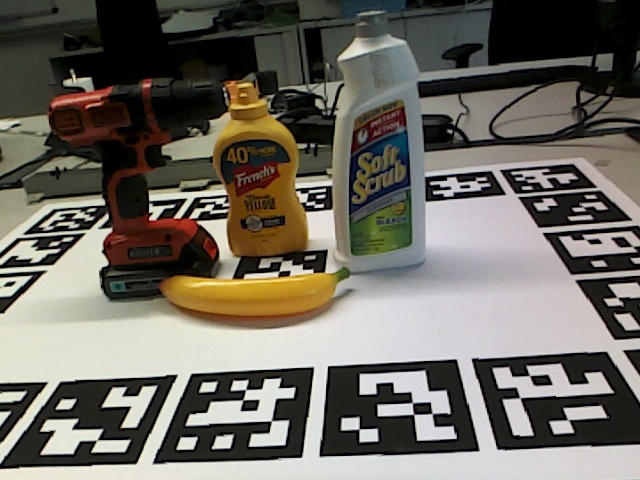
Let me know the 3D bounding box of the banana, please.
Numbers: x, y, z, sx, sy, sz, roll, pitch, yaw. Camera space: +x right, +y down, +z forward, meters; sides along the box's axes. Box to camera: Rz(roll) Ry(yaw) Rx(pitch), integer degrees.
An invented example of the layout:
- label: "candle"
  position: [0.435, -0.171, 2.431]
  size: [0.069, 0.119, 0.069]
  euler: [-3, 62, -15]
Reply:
- label: "banana"
  position: [-0.065, 0.050, 0.600]
  size: [0.198, 0.039, 0.074]
  euler: [-4, 29, 9]

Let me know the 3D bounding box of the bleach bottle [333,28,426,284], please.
- label: "bleach bottle"
  position: [0.054, -0.081, 0.625]
  size: [0.102, 0.250, 0.068]
  euler: [-8, 26, -2]

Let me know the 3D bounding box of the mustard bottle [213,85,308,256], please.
- label: "mustard bottle"
  position: [-0.070, -0.078, 0.700]
  size: [0.096, 0.191, 0.058]
  euler: [-3, 24, 5]

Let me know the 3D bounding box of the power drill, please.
- label: "power drill"
  position: [-0.176, -0.062, 0.647]
  size: [0.184, 0.186, 0.057]
  euler: [-3, 18, 2]
